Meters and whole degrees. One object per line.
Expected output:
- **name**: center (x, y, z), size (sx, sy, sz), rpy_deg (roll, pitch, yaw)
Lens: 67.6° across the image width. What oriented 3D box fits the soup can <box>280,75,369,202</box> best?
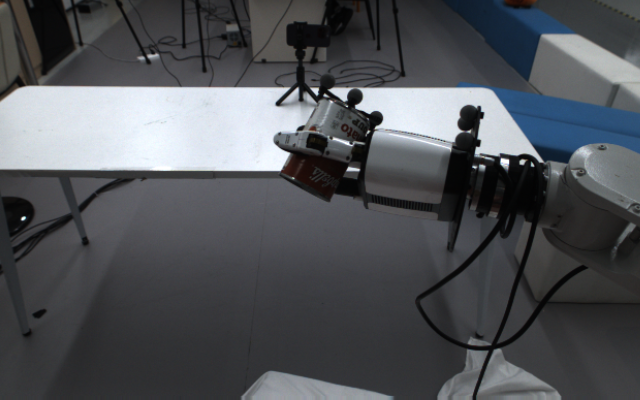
- **soup can**: center (0.007, -0.057, 0.554), size (0.067, 0.101, 0.067), rpy_deg (28, -2, 1)
